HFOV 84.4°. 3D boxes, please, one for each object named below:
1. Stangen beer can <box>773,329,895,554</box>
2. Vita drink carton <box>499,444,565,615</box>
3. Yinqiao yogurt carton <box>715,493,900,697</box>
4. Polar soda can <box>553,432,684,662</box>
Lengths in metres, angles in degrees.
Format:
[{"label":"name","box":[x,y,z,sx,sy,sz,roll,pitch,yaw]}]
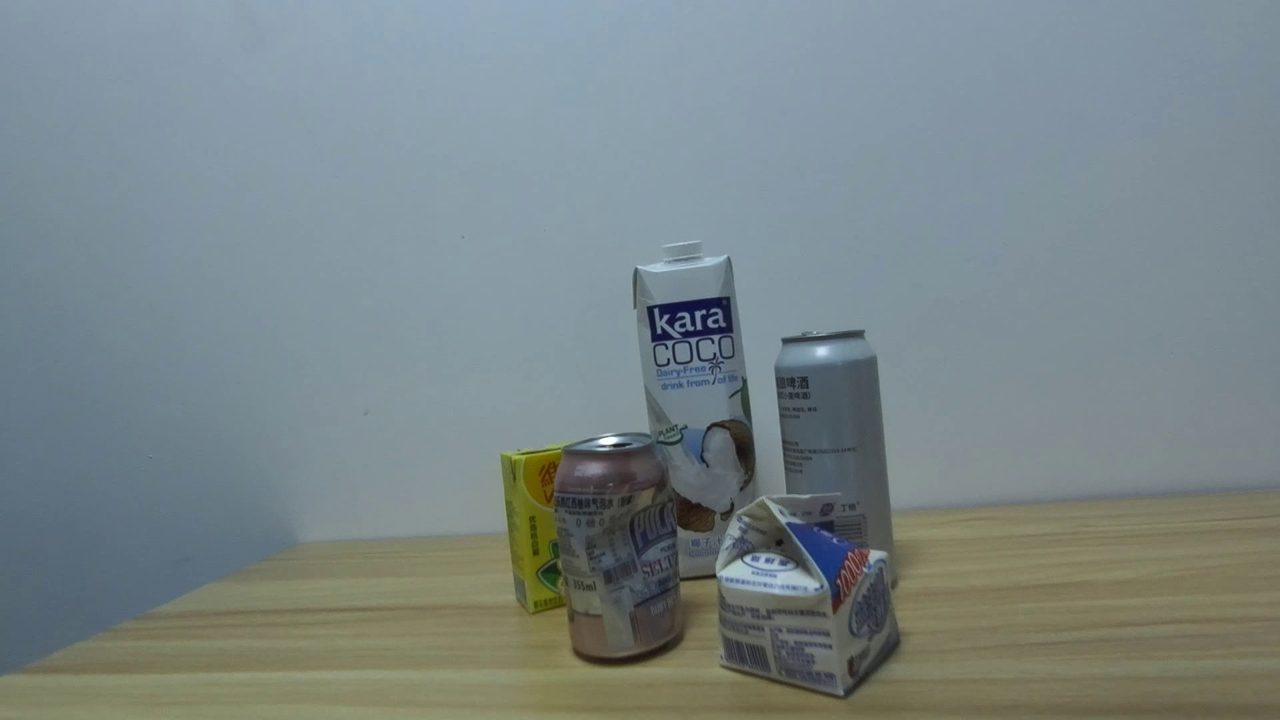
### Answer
[{"label":"Stangen beer can","box":[0.128,0.066,0.471,0.067,0.171,0.067,-5,0,0]},{"label":"Vita drink carton","box":[-0.063,0.119,0.524,0.067,0.109,0.043,-7,4,-26]},{"label":"Yinqiao yogurt carton","box":[0.084,0.111,0.370,0.077,0.093,0.083,-5,2,41]},{"label":"Polar soda can","box":[-0.011,0.108,0.416,0.074,0.121,0.067,-7,2,-13]}]
